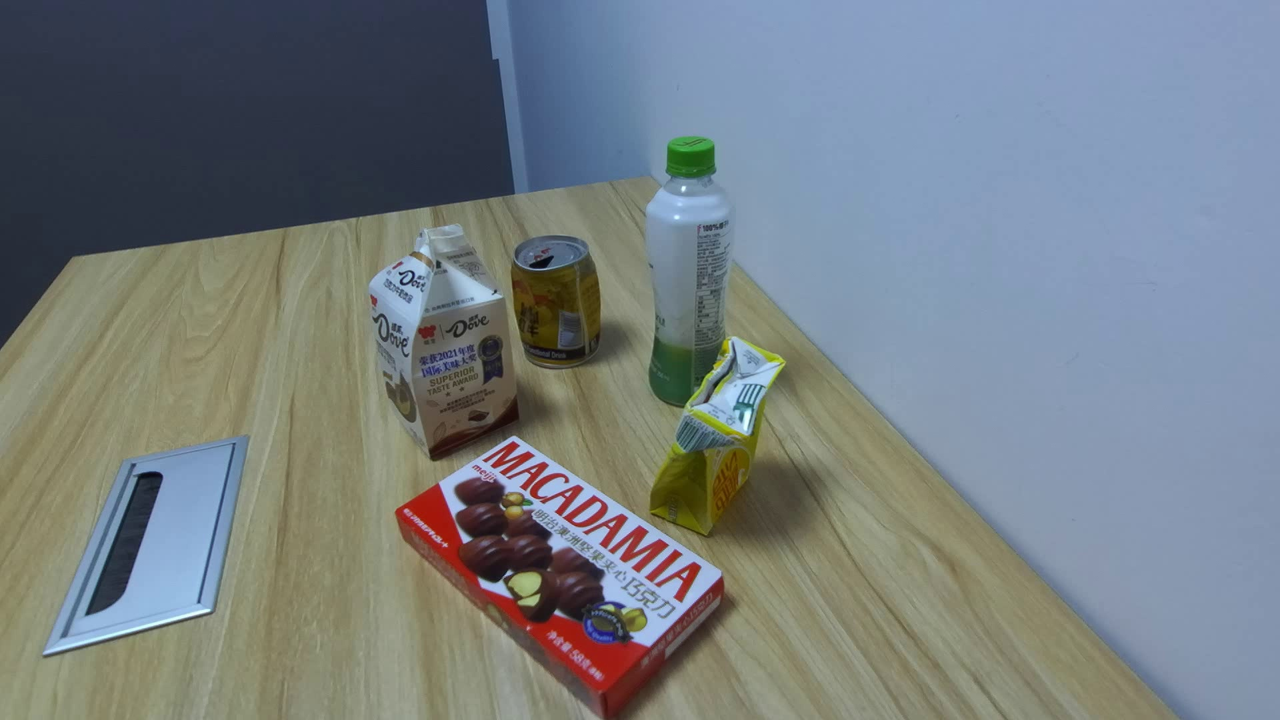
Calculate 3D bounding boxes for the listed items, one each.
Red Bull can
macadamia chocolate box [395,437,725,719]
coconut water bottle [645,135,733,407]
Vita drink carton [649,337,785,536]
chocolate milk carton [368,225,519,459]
[{"bbox_3d":[-0.068,-0.048,0.574,0.072,0.092,0.072,-1,36,1],"label":"Red Bull can"},{"bbox_3d":[-0.050,0.112,0.405,0.177,0.027,0.096,26,42,34],"label":"macadamia chocolate box"},{"bbox_3d":[0.035,-0.057,0.495,0.063,0.189,0.063,-2,31,1],"label":"coconut water bottle"},{"bbox_3d":[0.047,0.048,0.417,0.042,0.108,0.087,29,47,18],"label":"Vita drink carton"},{"bbox_3d":[-0.137,-0.022,0.486,0.074,0.156,0.076,-23,40,-29],"label":"chocolate milk carton"}]
